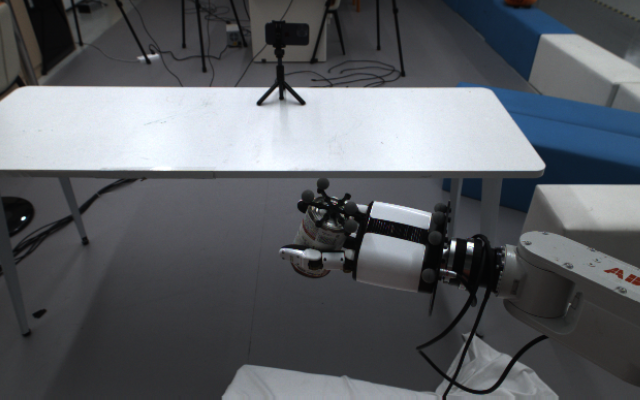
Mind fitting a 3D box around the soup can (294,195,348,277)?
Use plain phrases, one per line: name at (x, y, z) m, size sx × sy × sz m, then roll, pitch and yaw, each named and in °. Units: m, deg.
soup can at (0.002, 0.054, 0.680) m, size 0.067 × 0.101 × 0.067 m, roll 14°, pitch 39°, yaw -12°
